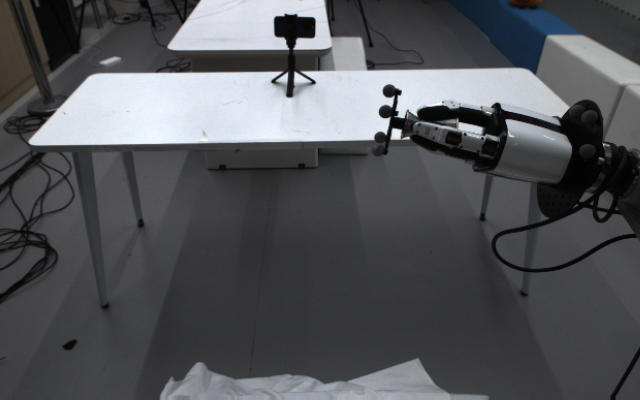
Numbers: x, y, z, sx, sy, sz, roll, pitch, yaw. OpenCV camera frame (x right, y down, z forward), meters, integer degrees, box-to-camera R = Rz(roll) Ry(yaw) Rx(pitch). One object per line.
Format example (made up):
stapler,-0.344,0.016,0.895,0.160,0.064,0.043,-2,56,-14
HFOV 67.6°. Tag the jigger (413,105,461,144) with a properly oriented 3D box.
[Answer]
jigger,0.152,-0.098,0.652,0.071,0.043,0.043,11,35,3
